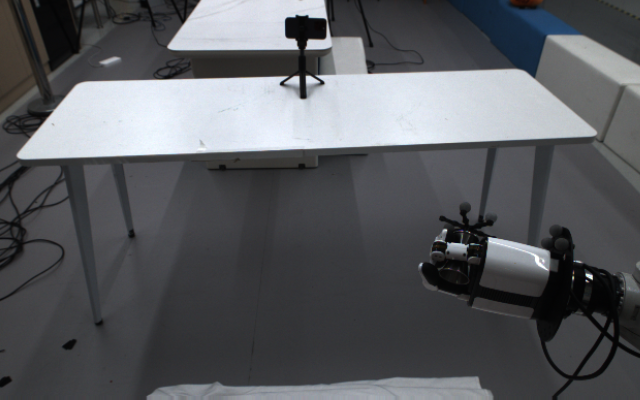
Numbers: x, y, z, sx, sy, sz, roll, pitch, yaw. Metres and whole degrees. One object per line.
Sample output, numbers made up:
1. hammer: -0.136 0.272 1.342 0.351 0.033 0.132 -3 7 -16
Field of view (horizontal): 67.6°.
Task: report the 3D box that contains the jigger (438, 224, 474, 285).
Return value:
1. jigger: 0.204 0.079 0.703 0.043 0.043 0.071 16 59 19
